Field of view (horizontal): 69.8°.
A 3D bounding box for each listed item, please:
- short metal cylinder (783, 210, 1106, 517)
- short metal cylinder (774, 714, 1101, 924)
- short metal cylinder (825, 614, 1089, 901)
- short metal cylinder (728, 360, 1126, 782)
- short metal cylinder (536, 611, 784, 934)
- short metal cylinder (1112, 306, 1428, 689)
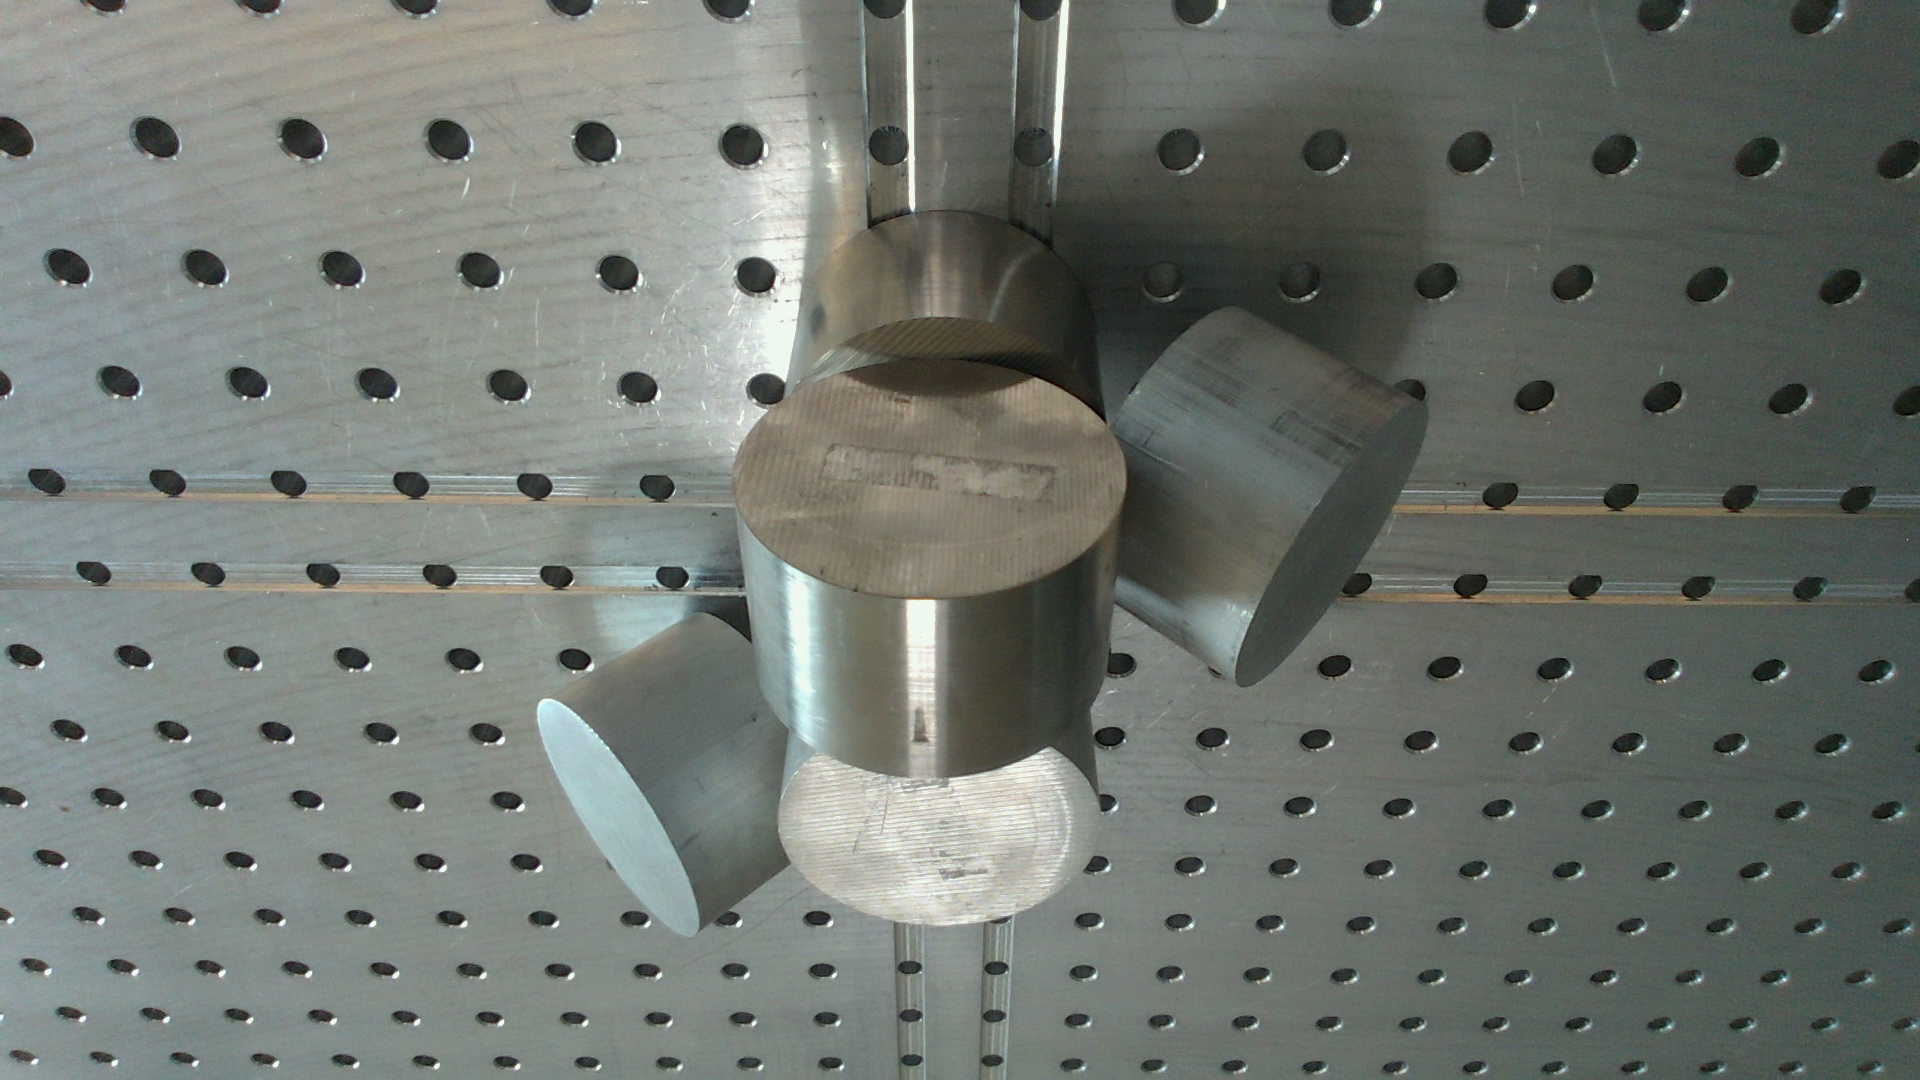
[{"bbox_3d":[-0.004,-0.035,0.348,0.080,0.050,0.080,0,131,0],"label":"short metal cylinder"},{"bbox_3d":[-0.005,0.055,0.357,0.080,0.050,0.080,0,130,0],"label":"short metal cylinder"},{"bbox_3d":[-0.001,0.070,0.436,0.080,0.050,0.080,0,131,0],"label":"short metal cylinder"},{"bbox_3d":[-0.007,0.004,0.295,0.080,0.080,0.050,0,130,0],"label":"short metal cylinder"},{"bbox_3d":[-0.081,0.068,0.408,0.050,0.080,0.080,-33,139,-31],"label":"short metal cylinder"},{"bbox_3d":[0.071,-0.010,0.341,0.050,0.080,0.080,35,134,24],"label":"short metal cylinder"}]
